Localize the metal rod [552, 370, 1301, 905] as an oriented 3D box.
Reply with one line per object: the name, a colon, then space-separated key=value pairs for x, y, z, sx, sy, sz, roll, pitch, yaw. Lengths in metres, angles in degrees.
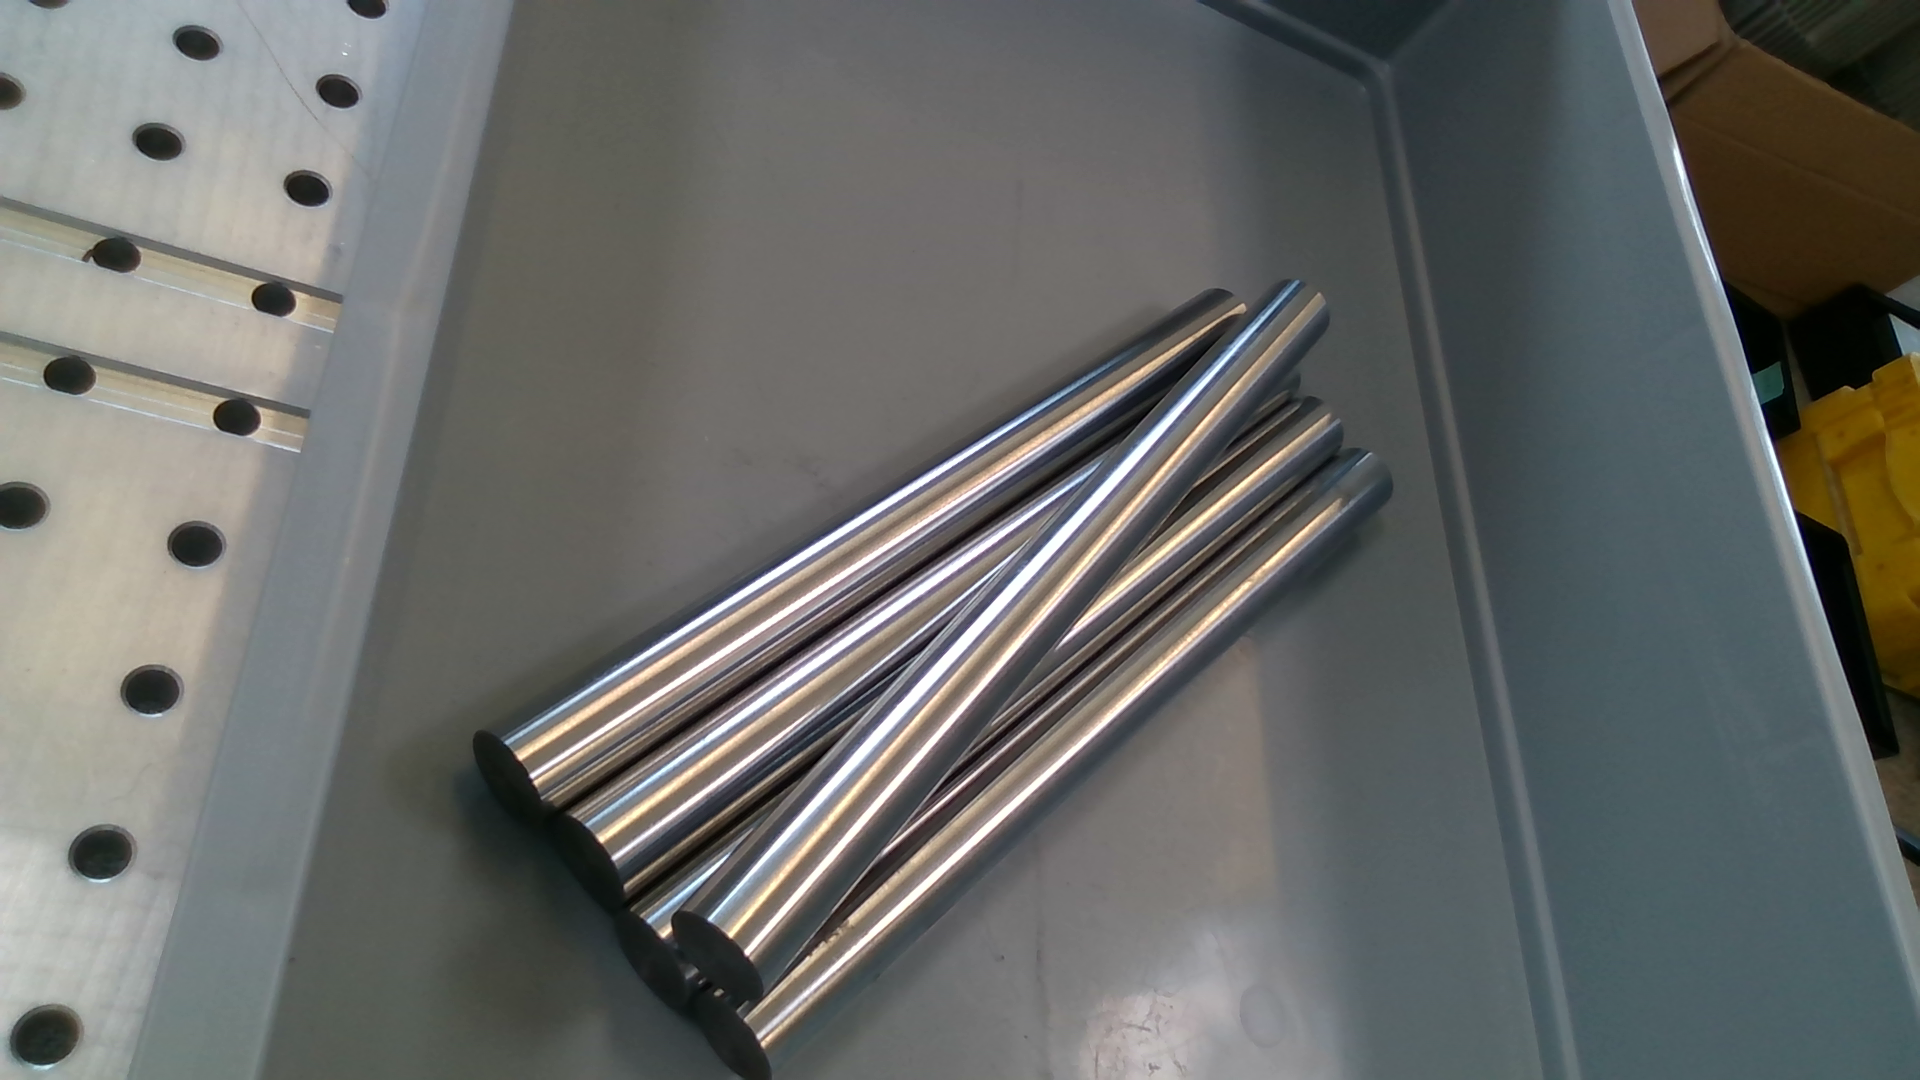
metal rod: x=0.014 y=0.005 z=0.398 sx=0.300 sy=0.025 sz=0.025 roll=-34 pitch=85 yaw=-39

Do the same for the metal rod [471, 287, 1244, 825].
metal rod: x=-0.003 y=-0.013 z=0.397 sx=0.300 sy=0.025 sz=0.025 roll=-34 pitch=85 yaw=-39

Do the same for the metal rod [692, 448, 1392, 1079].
metal rod: x=0.046 y=0.044 z=0.397 sx=0.300 sy=0.025 sz=0.025 roll=-34 pitch=85 yaw=-39

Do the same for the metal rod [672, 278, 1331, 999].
metal rod: x=0.033 y=0.003 z=0.377 sx=0.025 sy=0.025 sz=0.299 roll=47 pitch=51 yaw=-2

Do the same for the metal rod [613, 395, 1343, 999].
metal rod: x=0.028 y=0.025 z=0.396 sx=0.300 sy=0.025 sz=0.025 roll=-34 pitch=85 yaw=-39
